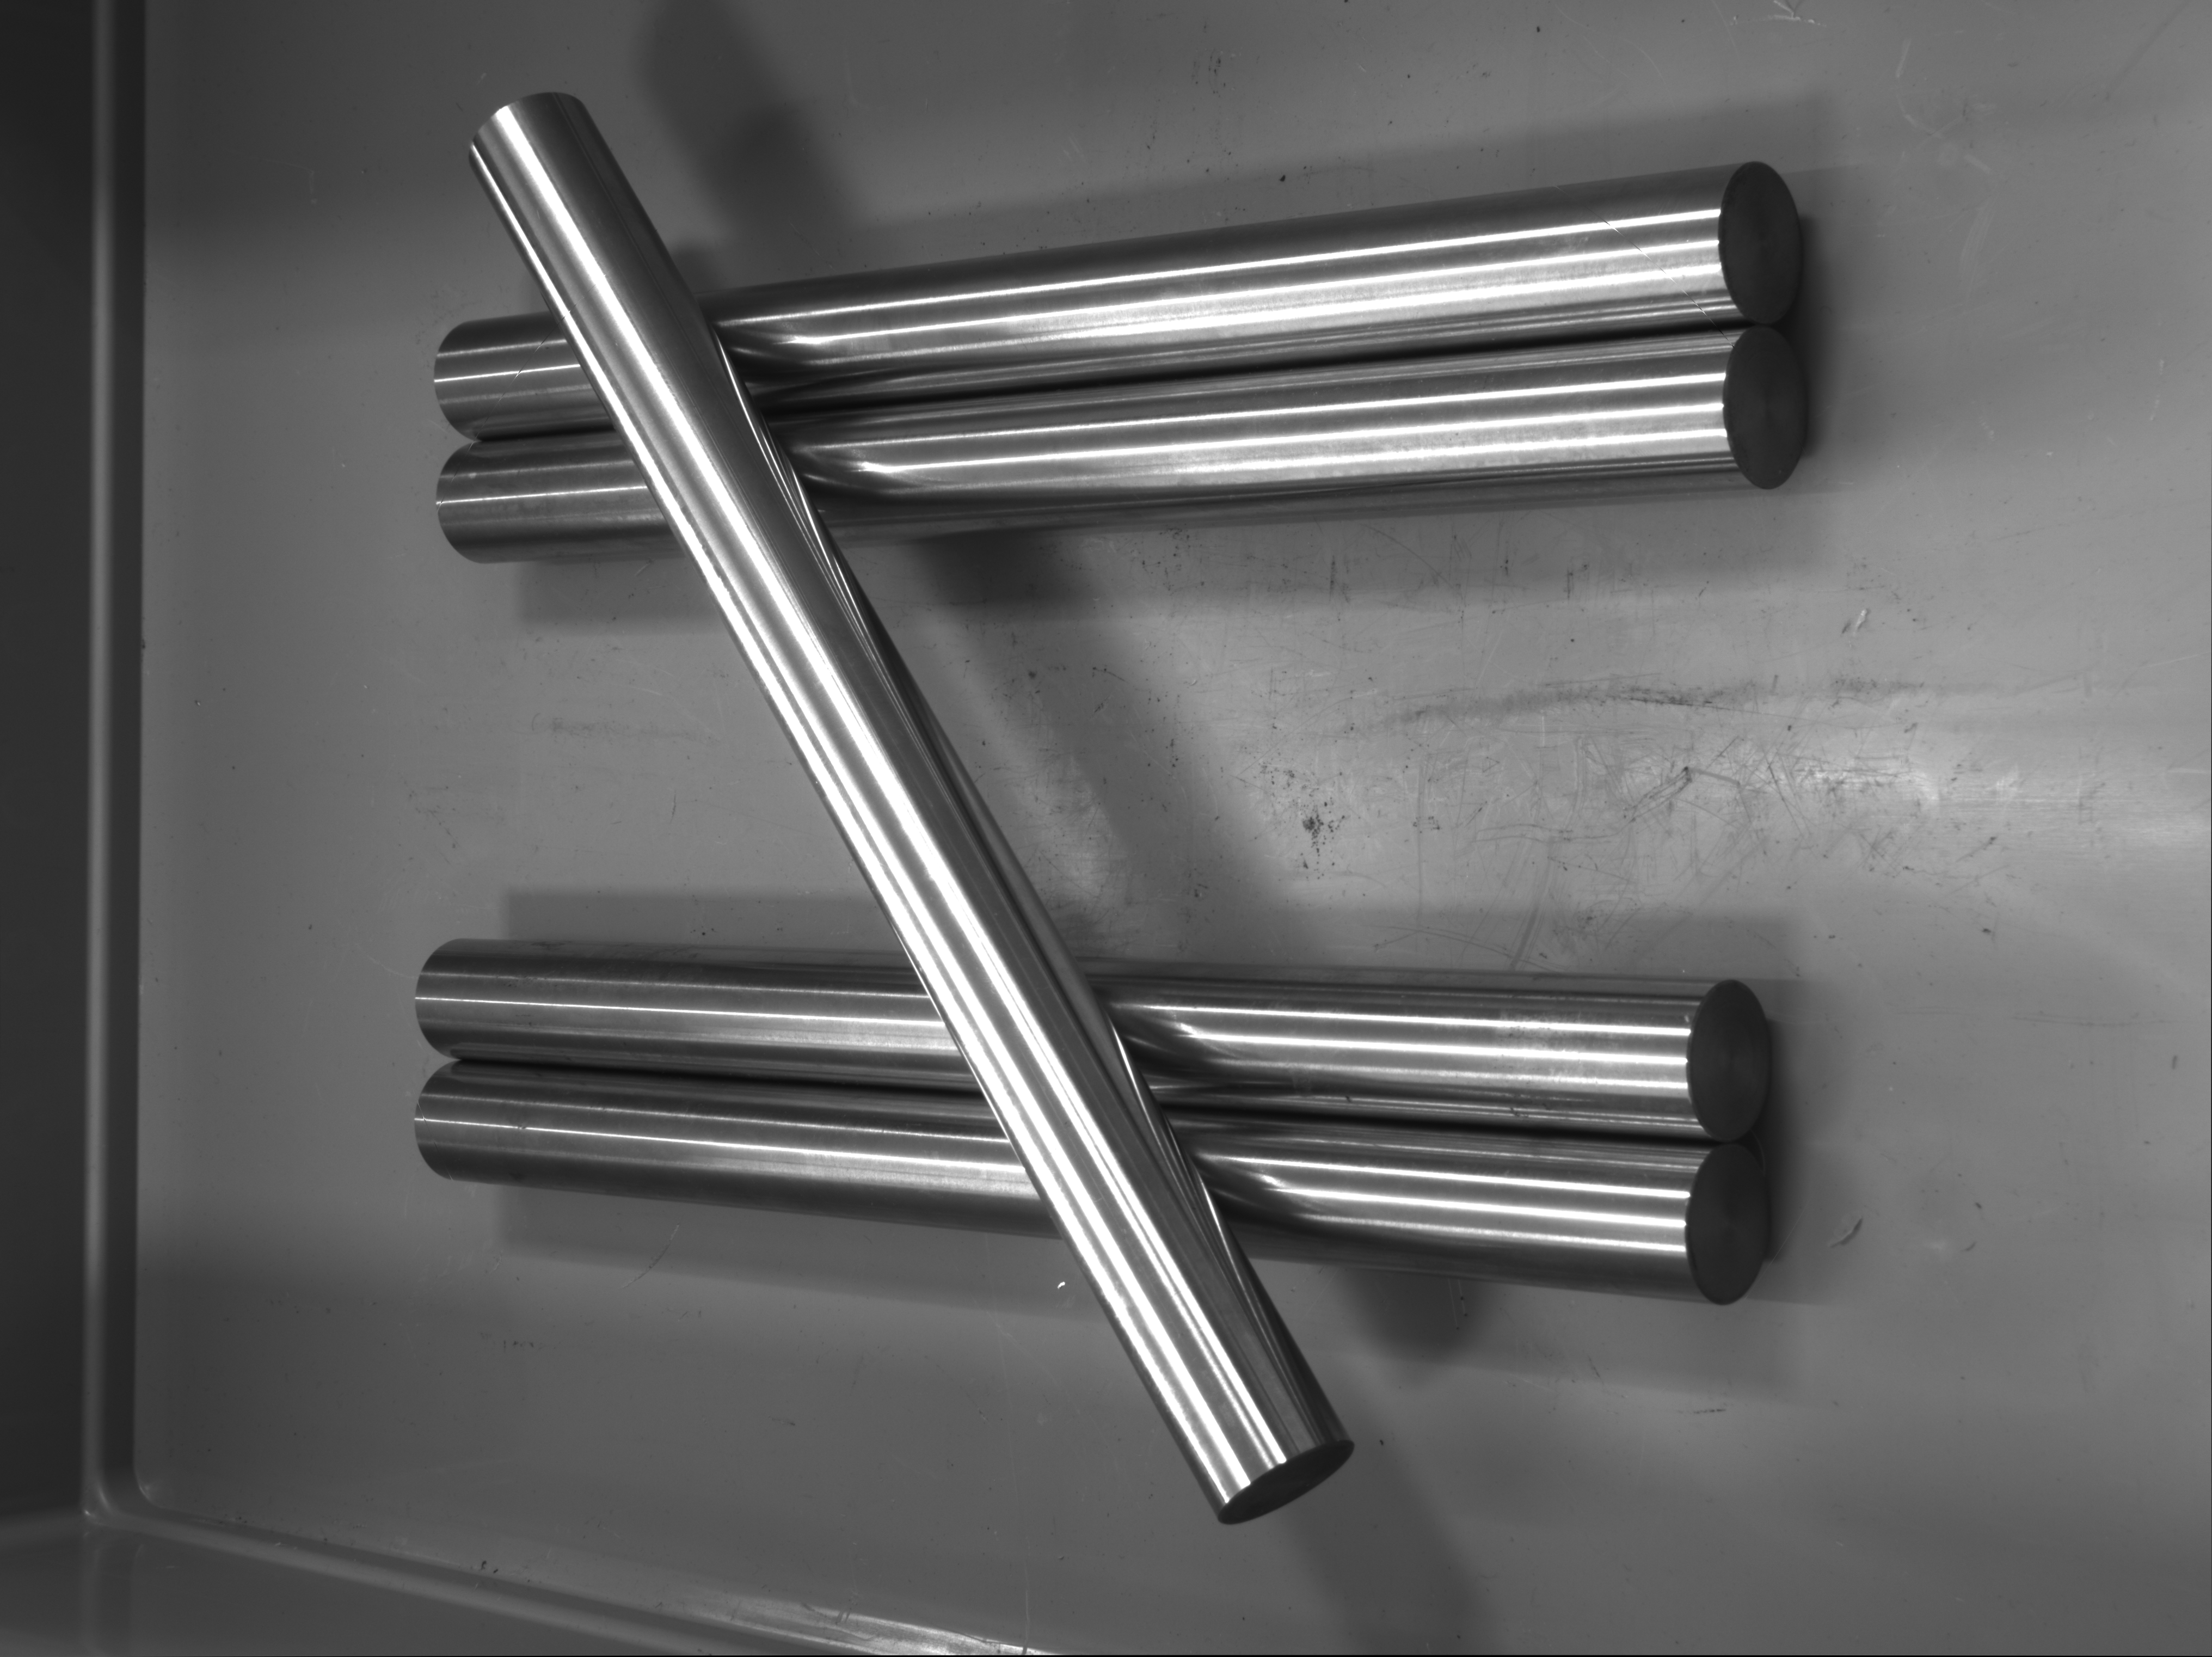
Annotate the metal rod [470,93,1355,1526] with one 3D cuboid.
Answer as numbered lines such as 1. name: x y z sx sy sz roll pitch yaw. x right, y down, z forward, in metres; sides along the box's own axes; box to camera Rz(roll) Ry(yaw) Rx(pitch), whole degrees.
1. metal rod: -0.041 -0.014 0.646 0.025 0.025 0.300 -45 63 31

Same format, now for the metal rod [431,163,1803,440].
1. metal rod: -0.014 -0.090 0.655 0.299 0.025 0.025 1 90 40

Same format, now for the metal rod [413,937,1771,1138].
1. metal rod: -0.019 0.035 0.659 0.299 0.025 0.025 0 90 40

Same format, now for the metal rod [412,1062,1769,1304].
1. metal rod: -0.019 0.060 0.659 0.299 0.025 0.025 0 90 40

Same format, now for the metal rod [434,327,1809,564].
1. metal rod: -0.014 -0.065 0.655 0.299 0.025 0.025 1 90 40
